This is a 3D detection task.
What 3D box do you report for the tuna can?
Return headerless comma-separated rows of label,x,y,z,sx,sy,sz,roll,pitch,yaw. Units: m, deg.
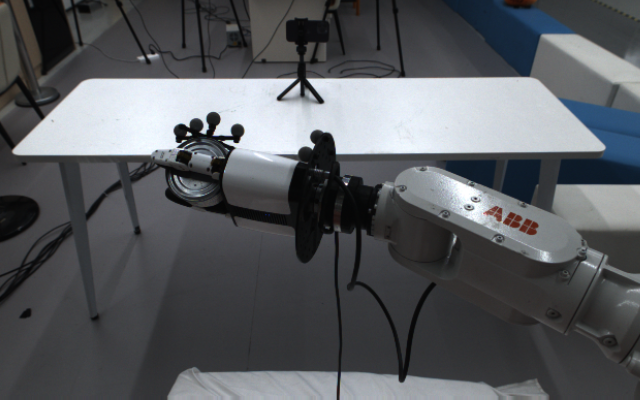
tuna can,-0.150,-0.034,0.620,0.085,0.034,0.085,-3,73,9
